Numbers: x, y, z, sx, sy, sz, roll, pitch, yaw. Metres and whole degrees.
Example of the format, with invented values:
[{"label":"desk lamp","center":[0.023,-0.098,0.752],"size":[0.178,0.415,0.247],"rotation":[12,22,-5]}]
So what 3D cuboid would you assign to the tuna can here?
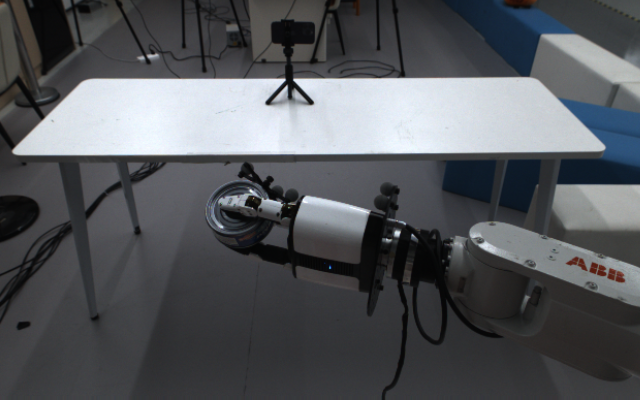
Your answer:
[{"label":"tuna can","center":[-0.099,0.023,0.621],"size":[0.085,0.034,0.085],"rotation":[-4,57,6]}]
